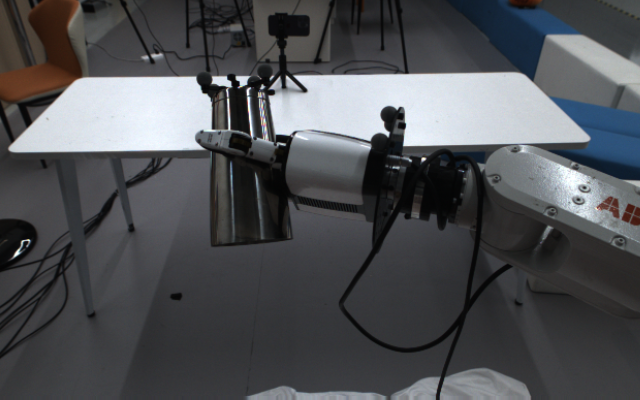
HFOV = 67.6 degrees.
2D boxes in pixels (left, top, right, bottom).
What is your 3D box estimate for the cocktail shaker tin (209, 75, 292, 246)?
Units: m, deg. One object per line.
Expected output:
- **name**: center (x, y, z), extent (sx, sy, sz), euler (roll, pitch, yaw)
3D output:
- **cocktail shaker tin**: center (-0.083, -0.035, 0.550), extent (0.093, 0.170, 0.093), euler (-6, -7, -1)
